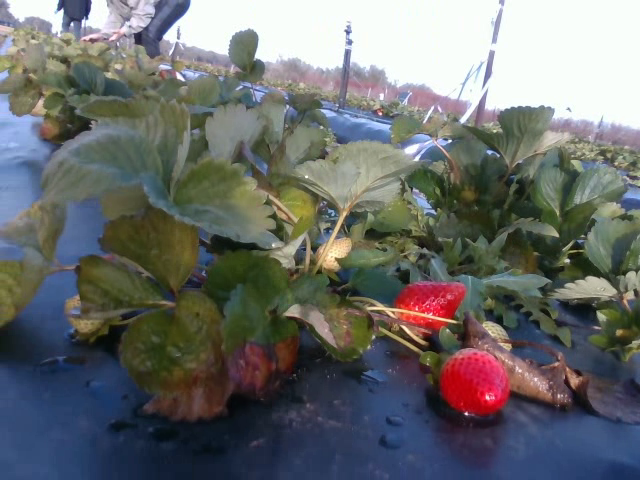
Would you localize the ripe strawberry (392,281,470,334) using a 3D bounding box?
[{"bbox_3d":[0.066,0.034,0.362,0.049,0.031,0.040,-37,2,25],"label":"ripe strawberry"}]

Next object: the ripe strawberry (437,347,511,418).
[{"bbox_3d":[0.071,0.065,0.277,0.035,0.029,0.043,1,14,-5],"label":"ripe strawberry"}]
